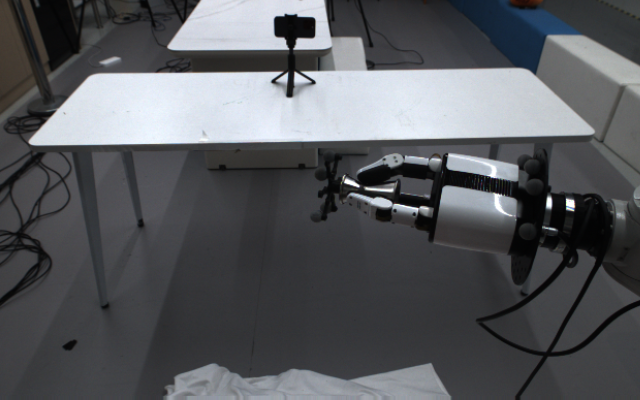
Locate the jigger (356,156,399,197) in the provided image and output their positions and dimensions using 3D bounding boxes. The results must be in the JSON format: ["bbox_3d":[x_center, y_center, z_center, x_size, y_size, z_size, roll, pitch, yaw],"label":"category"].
[{"bbox_3d":[0.068,-0.012,0.600,0.071,0.043,0.043,9,35,17],"label":"jigger"}]
